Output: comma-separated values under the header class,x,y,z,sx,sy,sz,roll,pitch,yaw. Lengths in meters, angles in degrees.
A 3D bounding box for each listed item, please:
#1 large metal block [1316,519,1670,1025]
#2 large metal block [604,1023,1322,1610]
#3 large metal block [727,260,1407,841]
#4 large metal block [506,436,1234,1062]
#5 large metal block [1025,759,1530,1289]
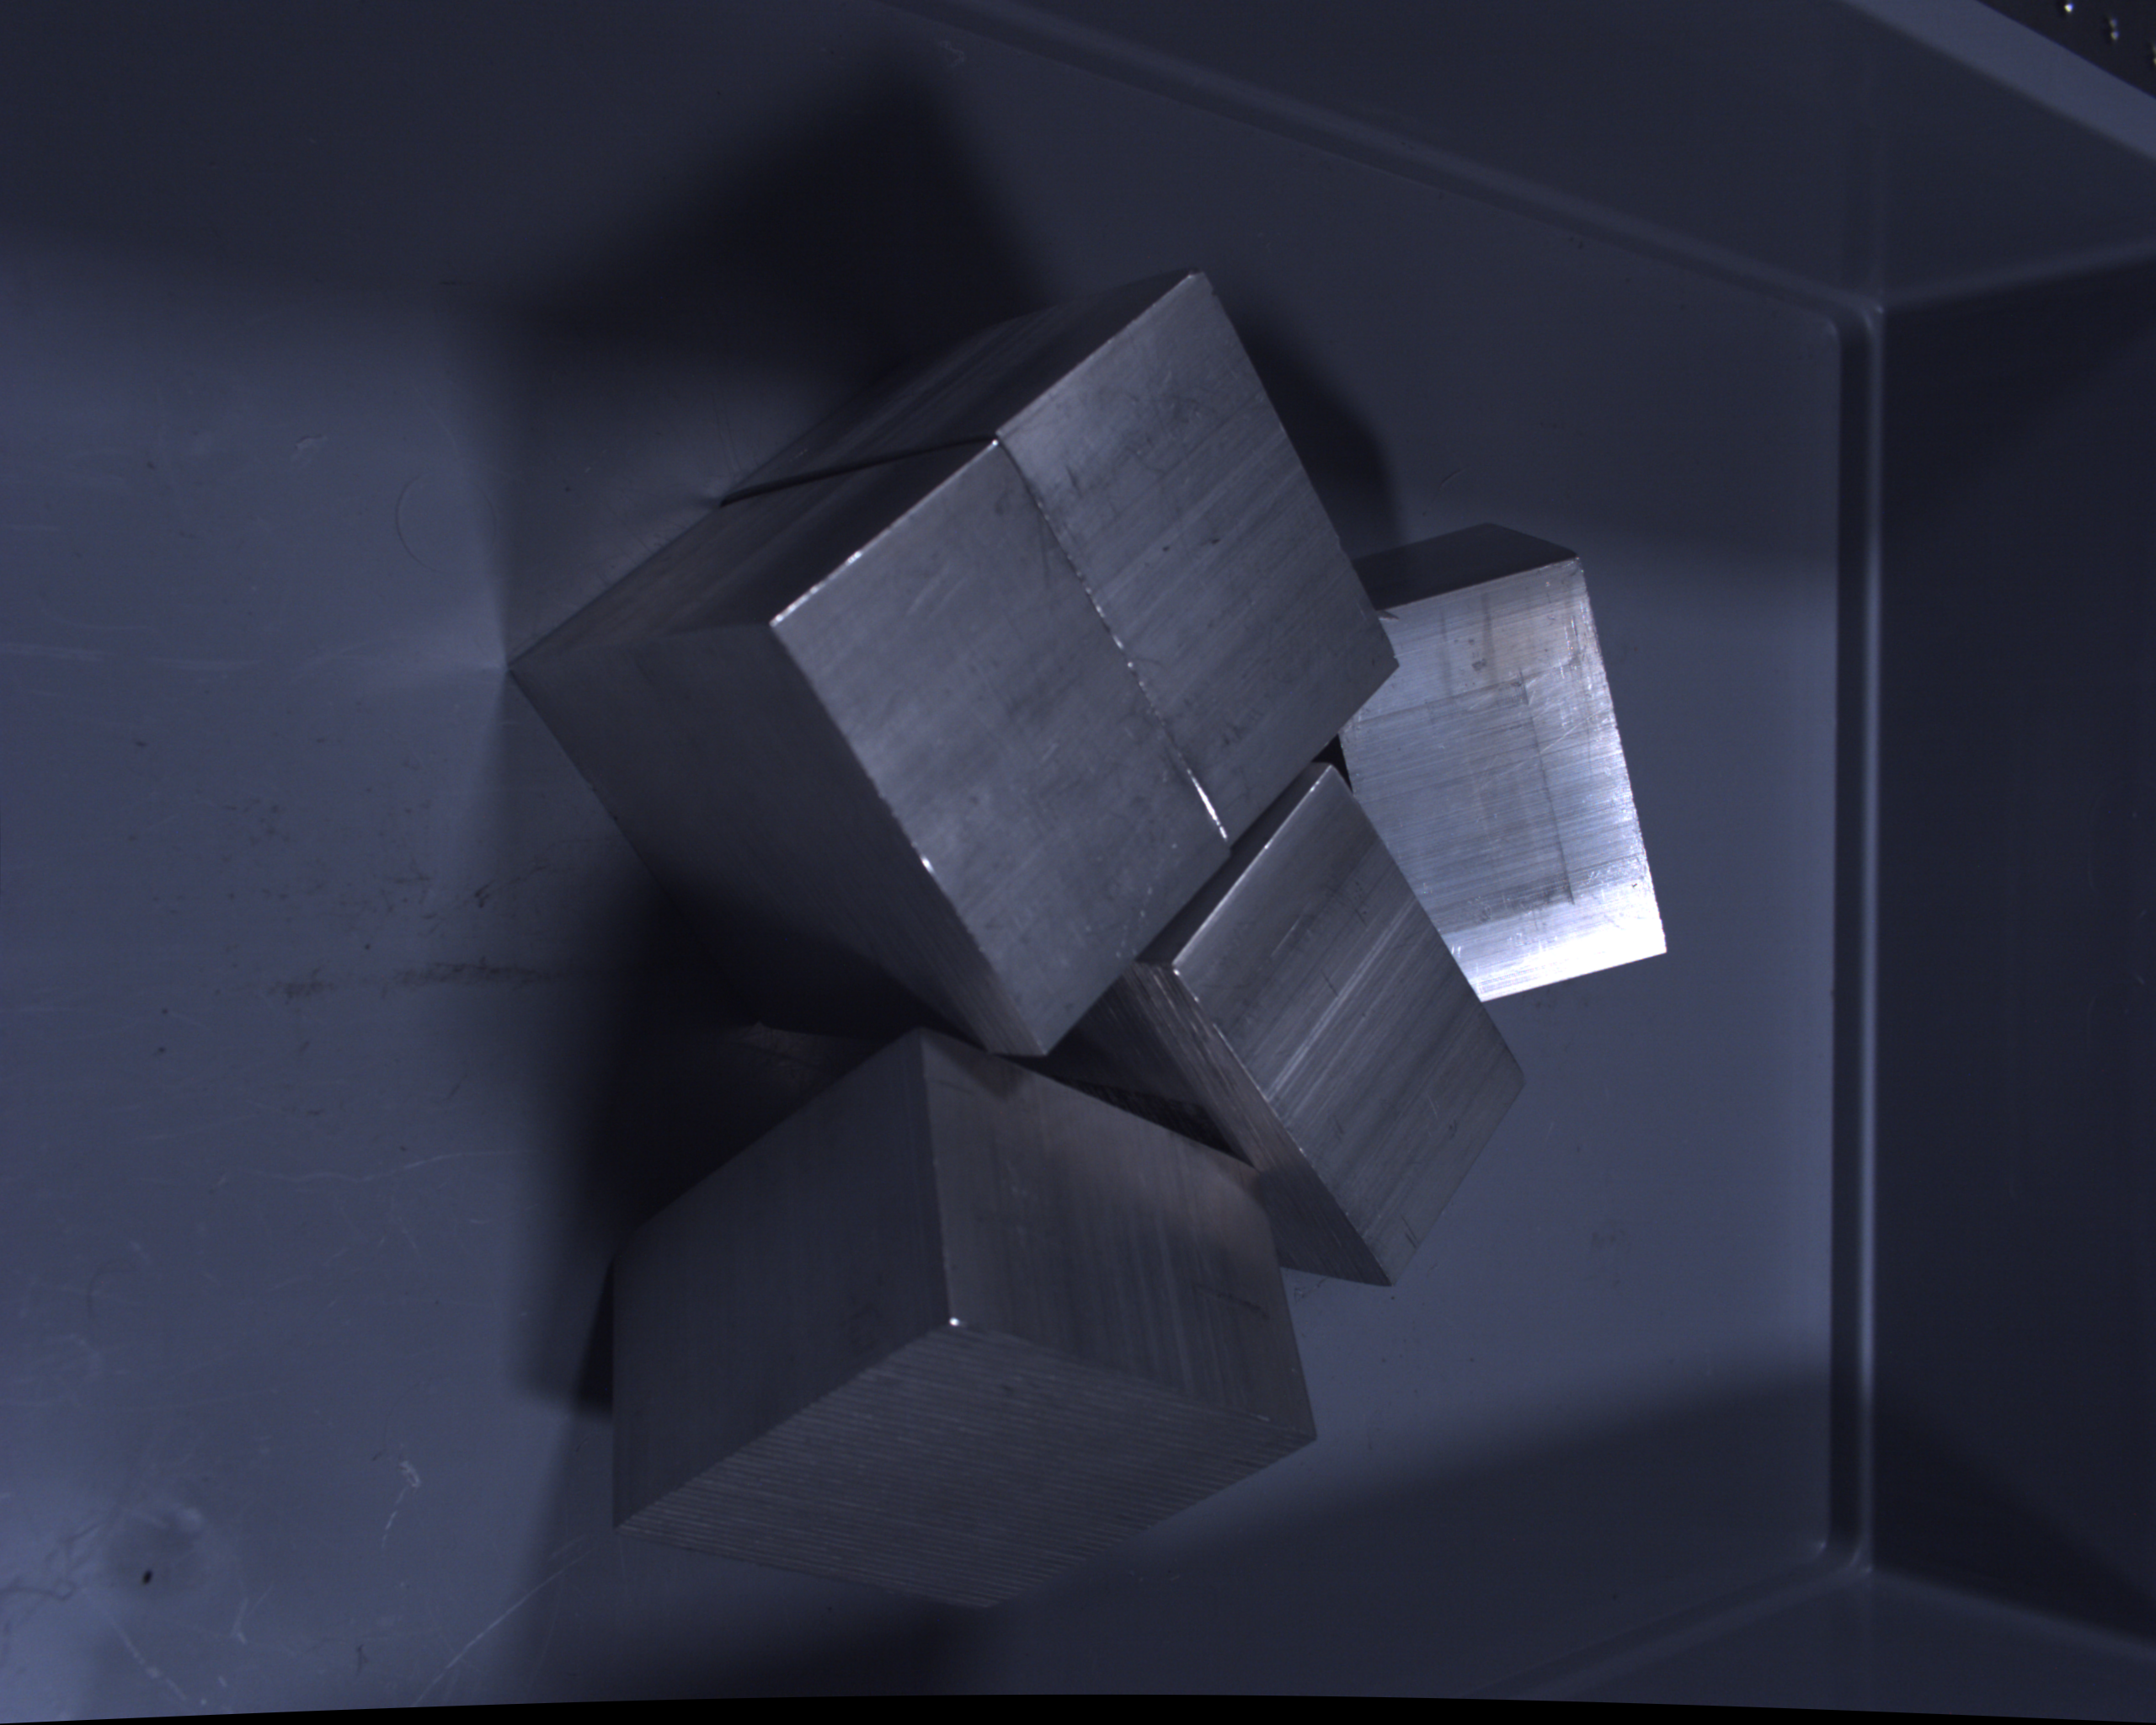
class,x,y,z,sx,sy,sz,roll,pitch,yaw
large metal block,0.076,-0.022,0.427,0.050,0.080,0.080,-16,103,2
large metal block,-0.021,0.079,0.345,0.080,0.080,0.050,28,38,-37
large metal block,-0.002,-0.050,0.368,0.050,0.080,0.080,-46,118,-30
large metal block,-0.034,-0.017,0.342,0.050,0.080,0.080,-45,118,-31
large metal block,0.024,0.028,0.390,0.050,0.080,0.080,-49,120,-29
